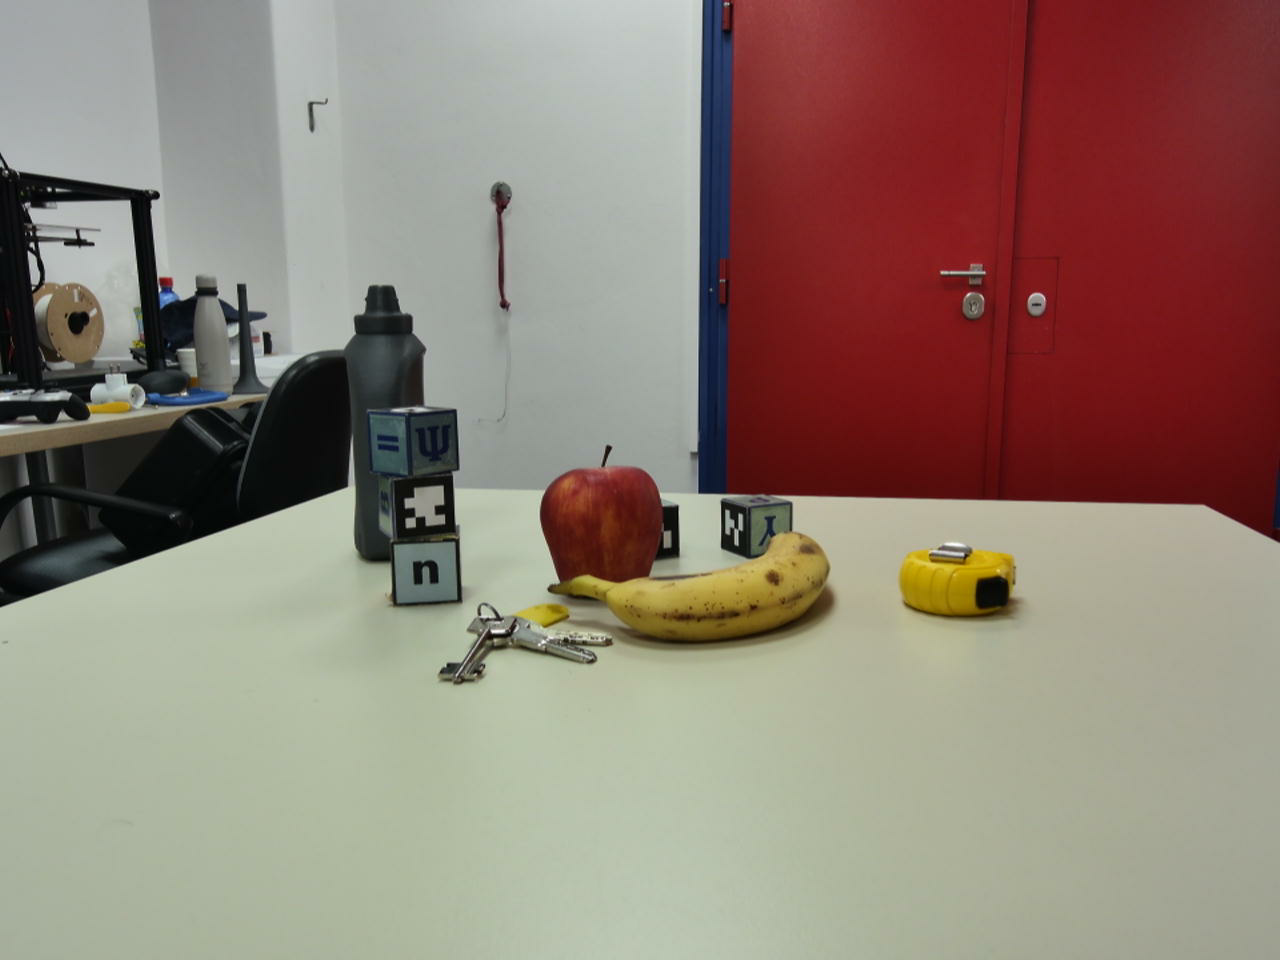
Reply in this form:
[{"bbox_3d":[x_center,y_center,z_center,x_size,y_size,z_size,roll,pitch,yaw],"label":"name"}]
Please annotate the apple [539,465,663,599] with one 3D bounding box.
[{"bbox_3d":[-0.024,0.025,0.610,0.083,0.090,0.083,-2,7,0],"label":"apple"}]
